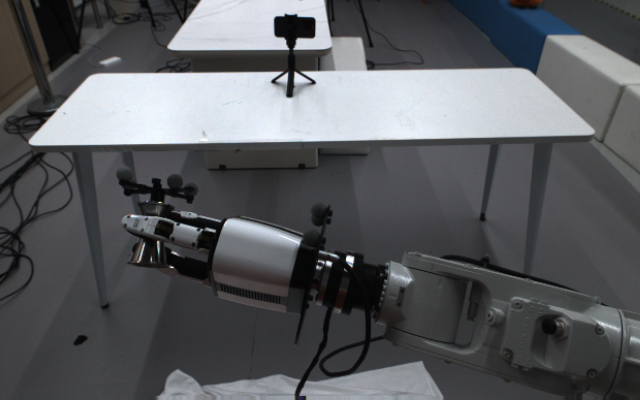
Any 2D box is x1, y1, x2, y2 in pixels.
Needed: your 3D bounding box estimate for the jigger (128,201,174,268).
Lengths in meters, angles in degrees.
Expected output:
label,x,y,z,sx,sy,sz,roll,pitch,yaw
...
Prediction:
label,x,y,z,sx,sy,sz,roll,pitch,yaw
jigger,-0.186,0.039,0.536,0.043,0.043,0.071,3,76,1
